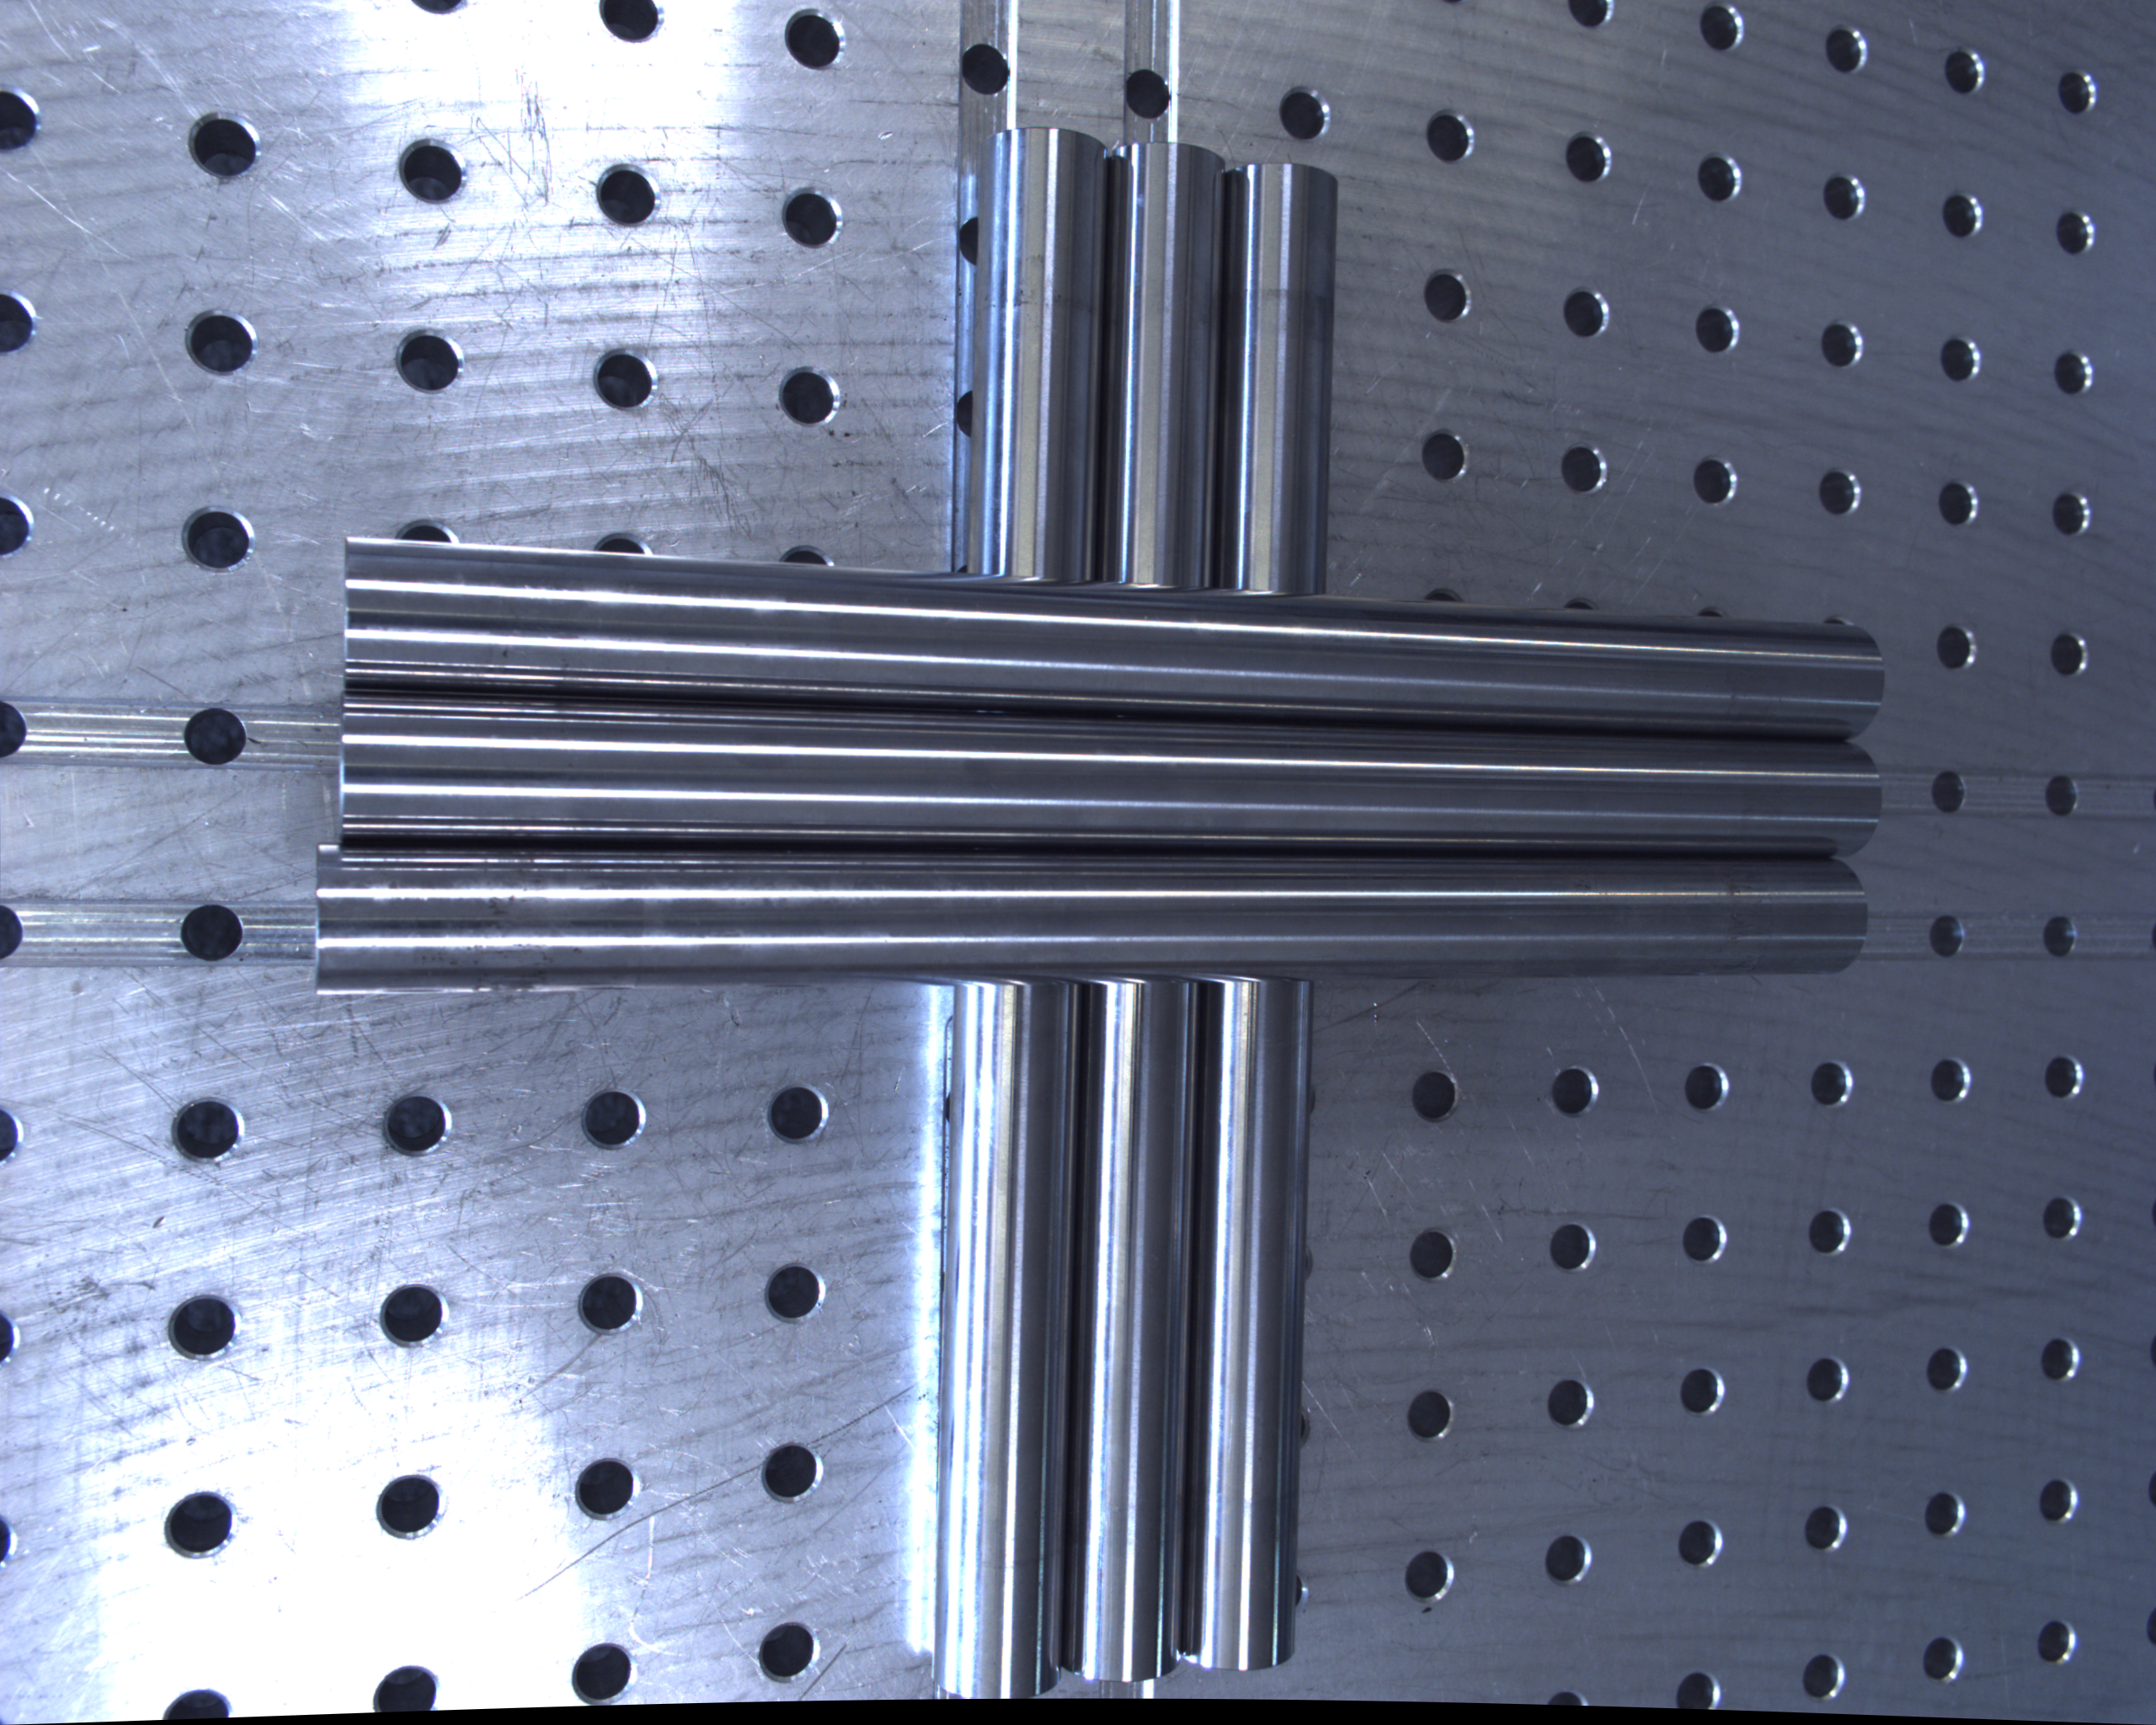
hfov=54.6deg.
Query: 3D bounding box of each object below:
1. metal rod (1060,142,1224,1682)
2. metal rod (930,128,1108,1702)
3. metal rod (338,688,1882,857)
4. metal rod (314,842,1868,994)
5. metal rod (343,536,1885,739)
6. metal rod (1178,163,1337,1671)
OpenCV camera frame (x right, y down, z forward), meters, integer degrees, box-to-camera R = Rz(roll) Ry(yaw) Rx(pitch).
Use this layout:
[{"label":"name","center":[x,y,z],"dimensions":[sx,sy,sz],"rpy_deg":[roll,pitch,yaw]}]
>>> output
[{"label":"metal rod","center":[0.012,0.009,0.417],"dimensions":[0.025,0.025,0.298],"rpy_deg":[2,89,-20]},{"label":"metal rod","center":[-0.011,0.009,0.408],"dimensions":[0.025,0.025,0.298],"rpy_deg":[2,89,-20]},{"label":"metal rod","center":[0.021,-0.015,0.393],"dimensions":[0.302,0.025,0.025],"rpy_deg":[1,90,-20]},{"label":"metal rod","center":[0.017,0.010,0.392],"dimensions":[0.302,0.025,0.025],"rpy_deg":[1,90,-20]},{"label":"metal rod","center":[0.022,-0.040,0.394],"dimensions":[0.302,0.025,0.025],"rpy_deg":[1,90,-20]},{"label":"metal rod","center":[0.036,0.010,0.425],"dimensions":[0.025,0.025,0.298],"rpy_deg":[2,89,-20]}]
